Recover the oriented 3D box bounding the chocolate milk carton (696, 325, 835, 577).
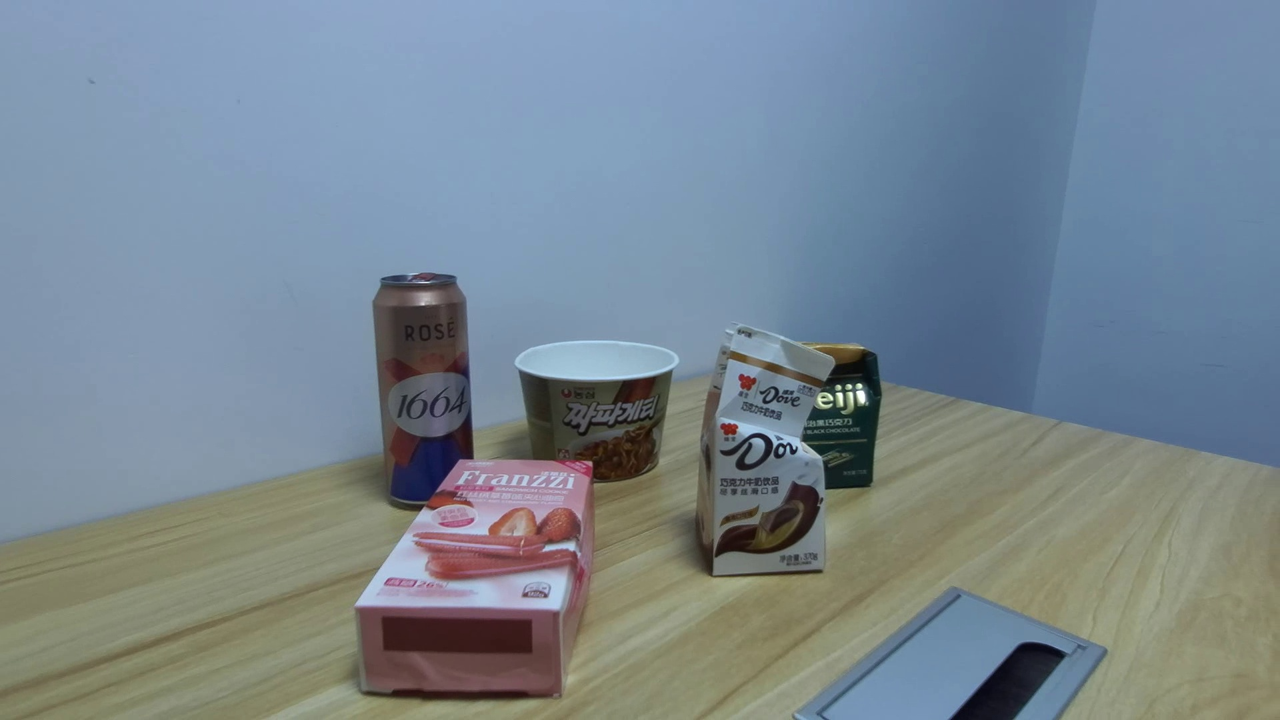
[{"bbox_3d":[0.078,0.051,0.448,0.076,0.155,0.073,0,17,-5],"label":"chocolate milk carton"}]

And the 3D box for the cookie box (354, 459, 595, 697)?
[{"bbox_3d":[-0.078,0.114,0.413,0.105,0.049,0.187,1,14,0],"label":"cookie box"}]

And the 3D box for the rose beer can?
[{"bbox_3d":[-0.163,0.024,0.537,0.068,0.169,0.068,1,13,0],"label":"rose beer can"}]

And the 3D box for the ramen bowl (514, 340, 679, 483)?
[{"bbox_3d":[-0.036,0.043,0.615,0.140,0.095,0.140,1,14,0],"label":"ramen bowl"}]

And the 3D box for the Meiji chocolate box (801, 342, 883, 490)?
[{"bbox_3d":[0.134,0.043,0.578,0.117,0.117,0.051,-1,9,-8],"label":"Meiji chocolate box"}]
